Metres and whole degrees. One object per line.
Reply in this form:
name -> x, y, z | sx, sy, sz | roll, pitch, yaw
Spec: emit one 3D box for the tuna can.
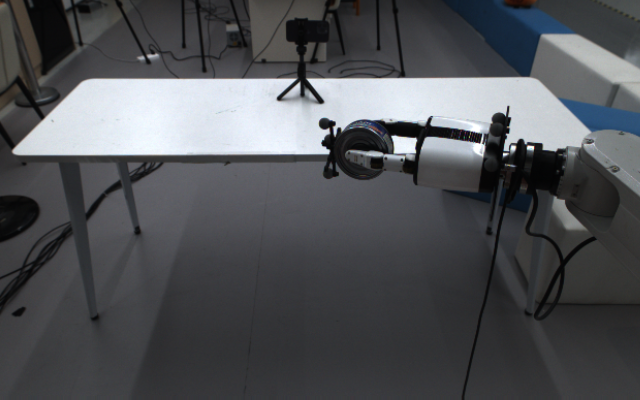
tuna can -> 0.067, -0.072, 0.717 | 0.085, 0.085, 0.034 | 12, 28, 14
